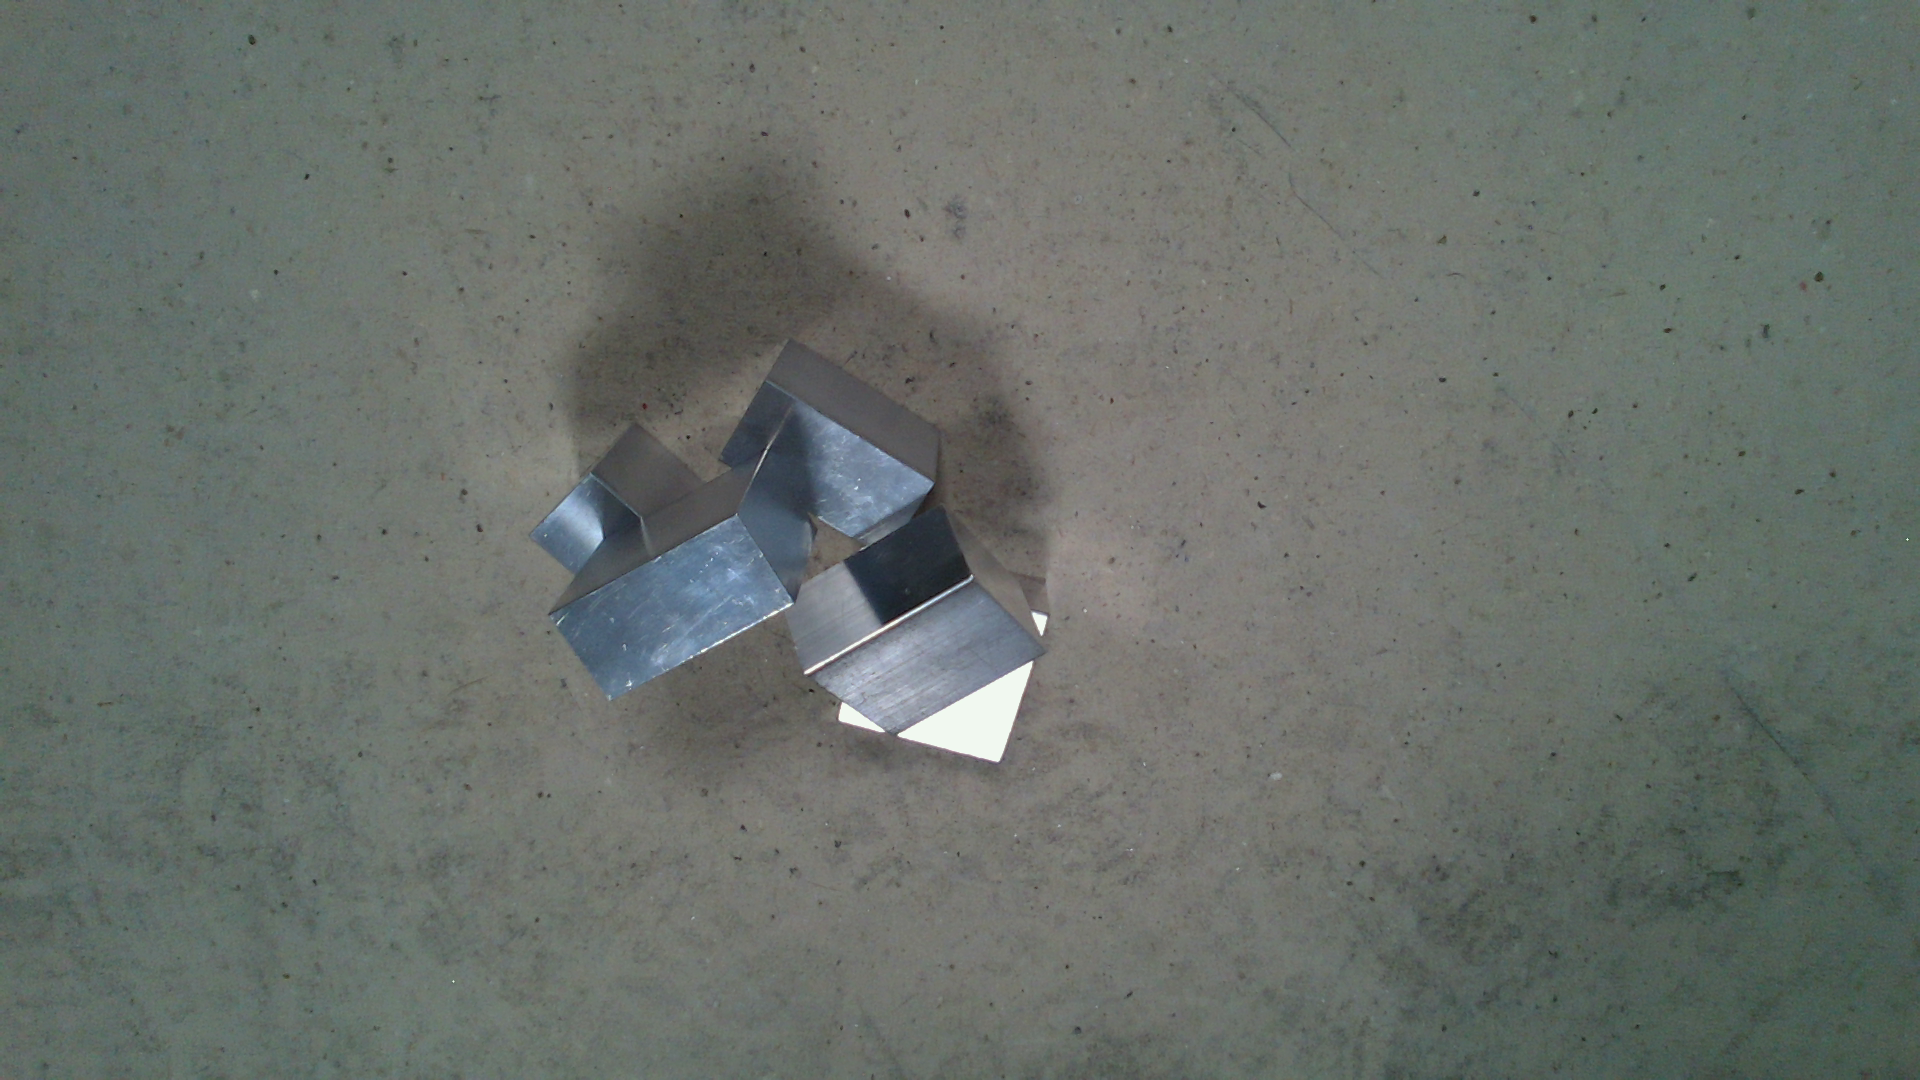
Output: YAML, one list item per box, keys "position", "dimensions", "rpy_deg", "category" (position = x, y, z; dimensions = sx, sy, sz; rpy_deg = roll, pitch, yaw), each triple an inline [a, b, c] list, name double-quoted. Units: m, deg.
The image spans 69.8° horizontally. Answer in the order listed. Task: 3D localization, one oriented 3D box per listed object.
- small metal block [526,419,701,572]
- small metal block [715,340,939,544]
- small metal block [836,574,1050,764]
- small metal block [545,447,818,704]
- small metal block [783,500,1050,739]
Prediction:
- position: [-0.085, -0.001, 0.380]
  dimensions: [0.025, 0.050, 0.050]
  rpy_deg: [-43, 105, 14]
  category: "small metal block"
- position: [-0.034, -0.026, 0.371]
  dimensions: [0.050, 0.050, 0.025]
  rpy_deg: [31, 107, -11]
  category: "small metal block"
- position: [-0.005, 0.033, 0.406]
  dimensions: [0.050, 0.025, 0.050]
  rpy_deg: [15, 109, -6]
  category: "small metal block"
- position: [-0.065, 0.007, 0.330]
  dimensions: [0.050, 0.050, 0.025]
  rpy_deg: [-28, 108, 10]
  category: "small metal block"
- position: [-0.011, 0.022, 0.363]
  dimensions: [0.050, 0.025, 0.050]
  rpy_deg: [-30, 145, 10]
  category: "small metal block"
